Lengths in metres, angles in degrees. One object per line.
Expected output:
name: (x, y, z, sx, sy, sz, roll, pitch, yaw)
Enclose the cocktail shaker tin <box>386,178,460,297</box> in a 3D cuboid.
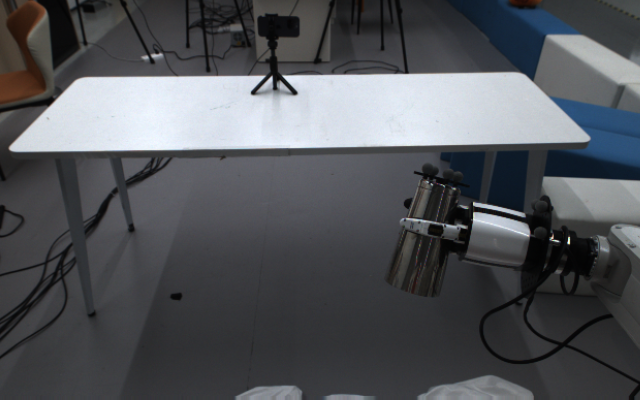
cocktail shaker tin: (0.170, 0.056, 0.771, 0.093, 0.170, 0.093, 14, 6, -2)
